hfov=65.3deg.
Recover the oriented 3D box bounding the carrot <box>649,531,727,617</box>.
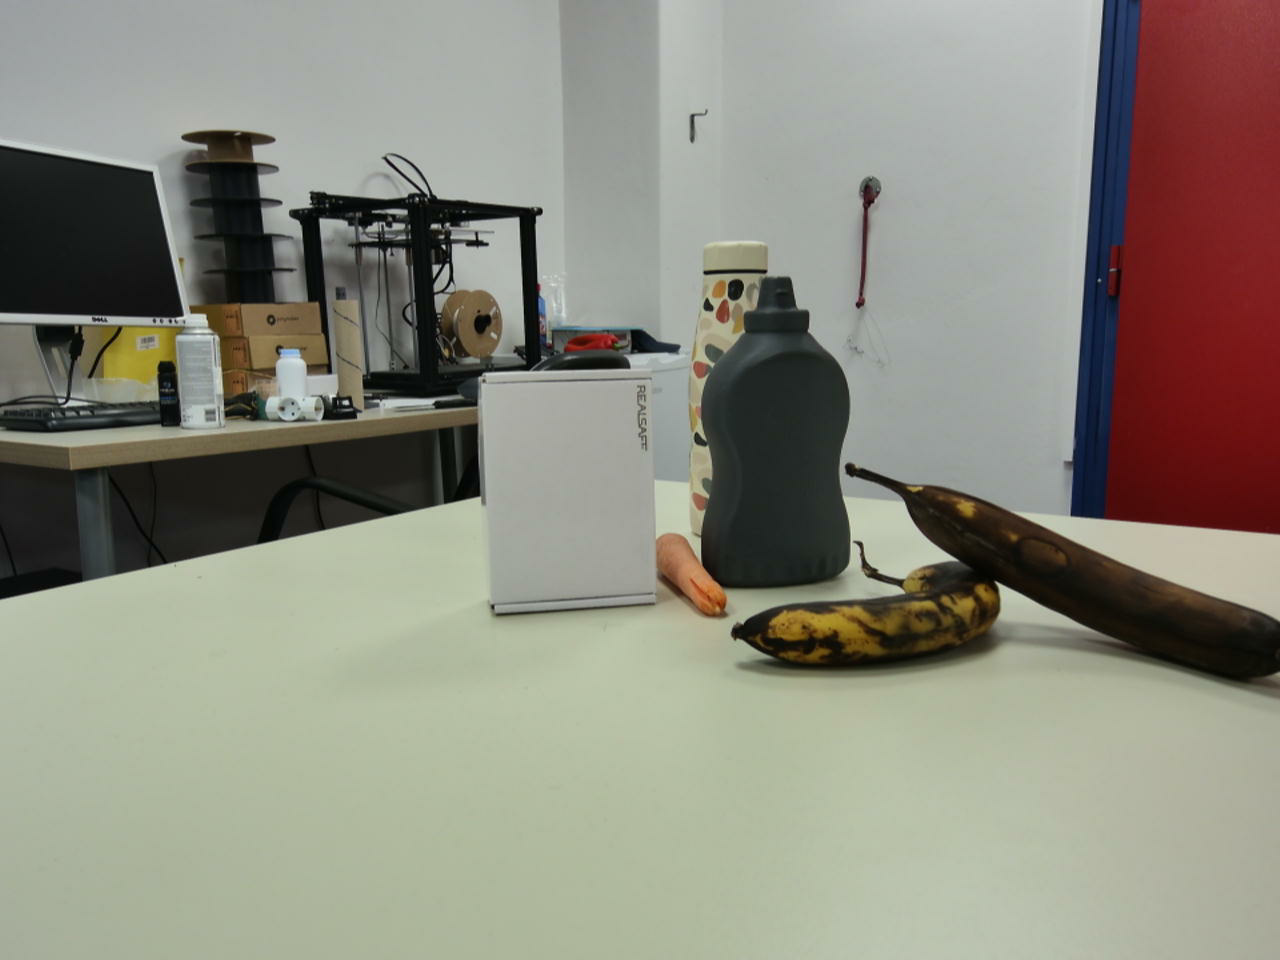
[{"bbox_3d":[0.031,0.058,0.653,0.030,0.032,0.136,-1,7,-10],"label":"carrot"}]
